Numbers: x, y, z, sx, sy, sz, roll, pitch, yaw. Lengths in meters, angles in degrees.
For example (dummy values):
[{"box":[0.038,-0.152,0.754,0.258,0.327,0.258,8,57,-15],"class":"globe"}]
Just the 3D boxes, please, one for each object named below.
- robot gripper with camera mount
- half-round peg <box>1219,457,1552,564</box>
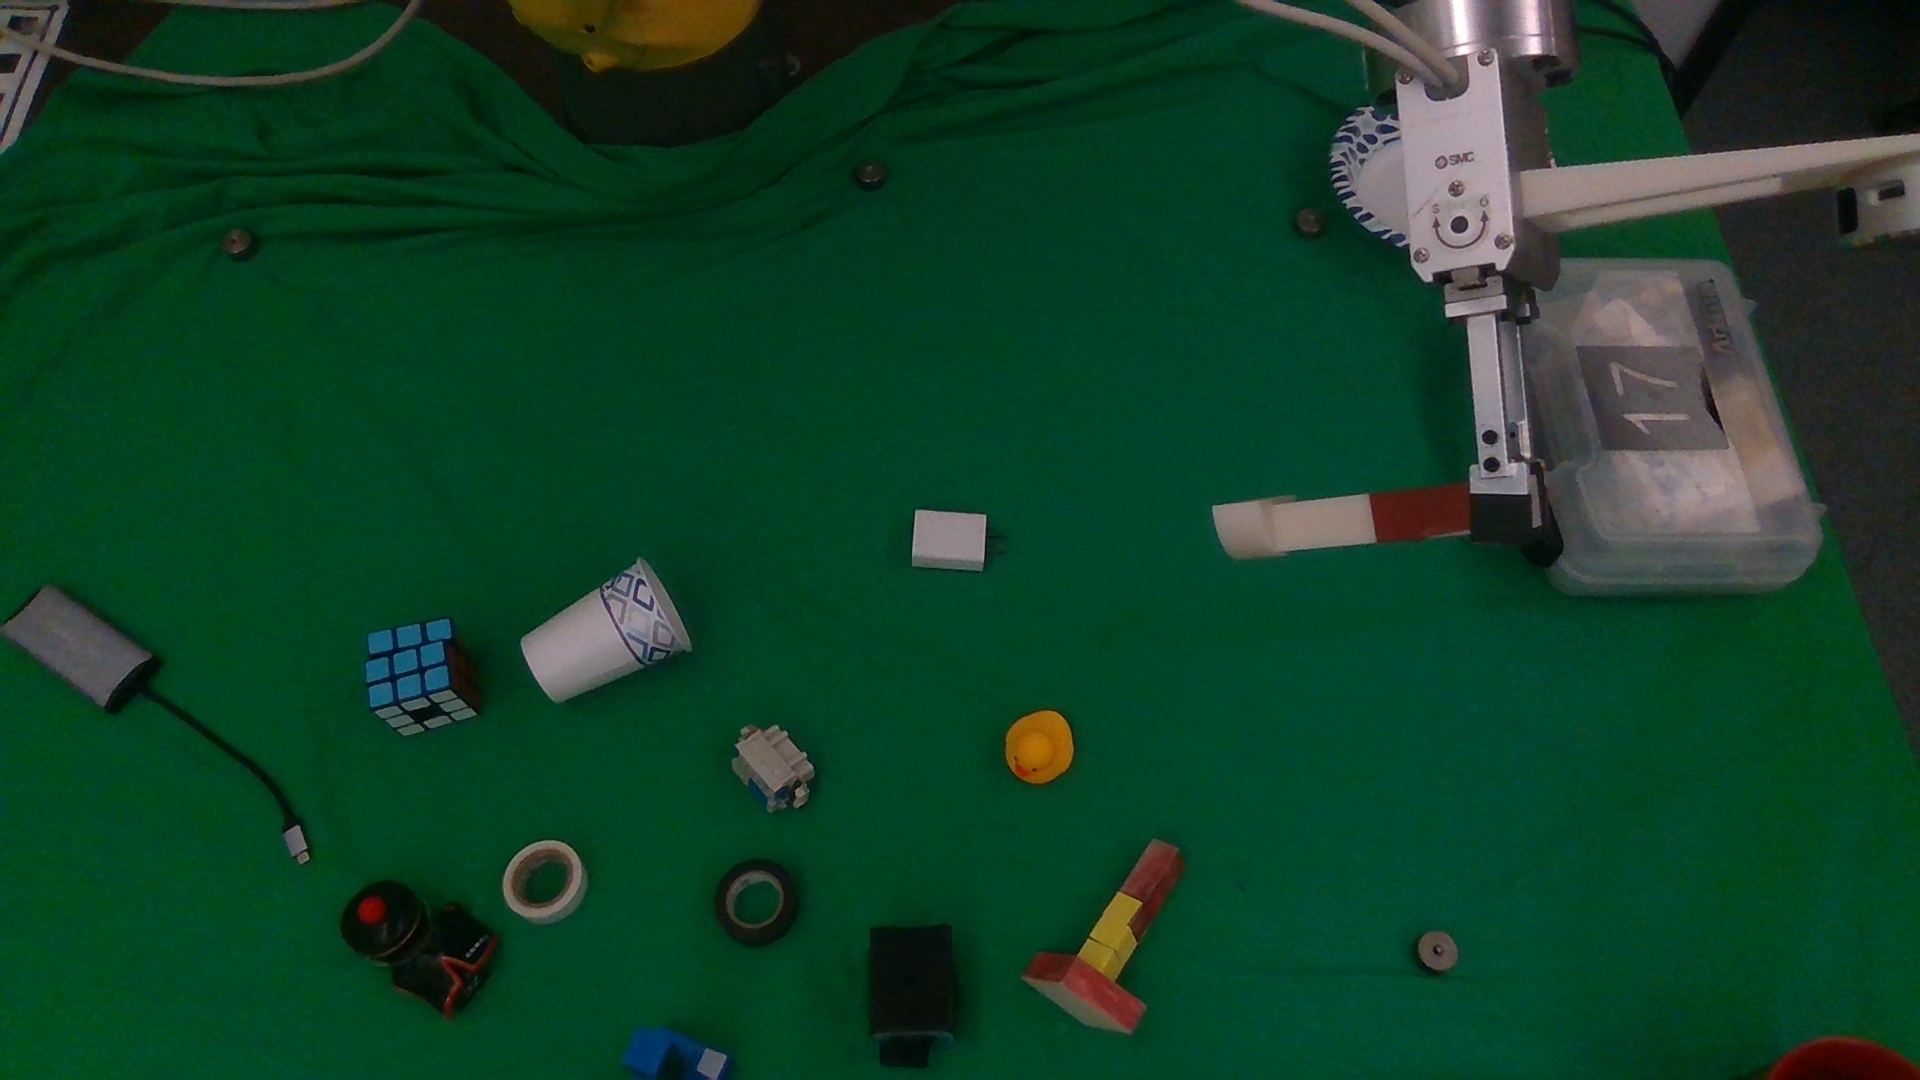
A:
[{"box":[0.270,-0.087,0.487,0.194,0.118,0.158,-6,91,33],"class":"robot gripper with camera mount"},{"box":[0.170,-0.013,0.554,0.122,0.054,0.031,-9,93,31],"class":"half-round peg"}]
